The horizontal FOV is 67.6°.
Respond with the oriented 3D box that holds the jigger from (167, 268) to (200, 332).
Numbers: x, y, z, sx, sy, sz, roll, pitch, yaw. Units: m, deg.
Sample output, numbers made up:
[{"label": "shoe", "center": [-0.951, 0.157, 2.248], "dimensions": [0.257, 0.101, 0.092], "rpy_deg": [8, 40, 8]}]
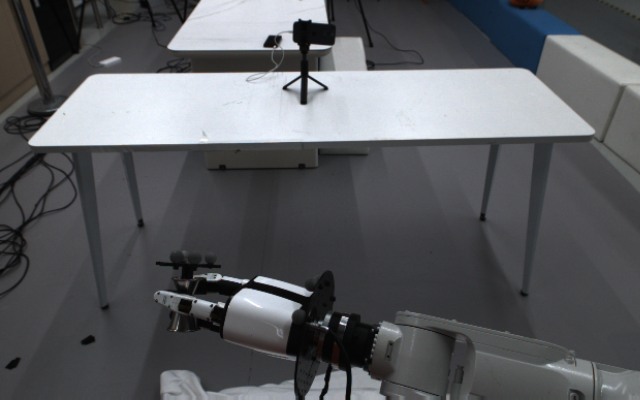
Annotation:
[{"label": "jigger", "center": [-0.178, 0.138, 0.646], "dimensions": [0.043, 0.071, 0.043], "rpy_deg": [2, -6, 0]}]
